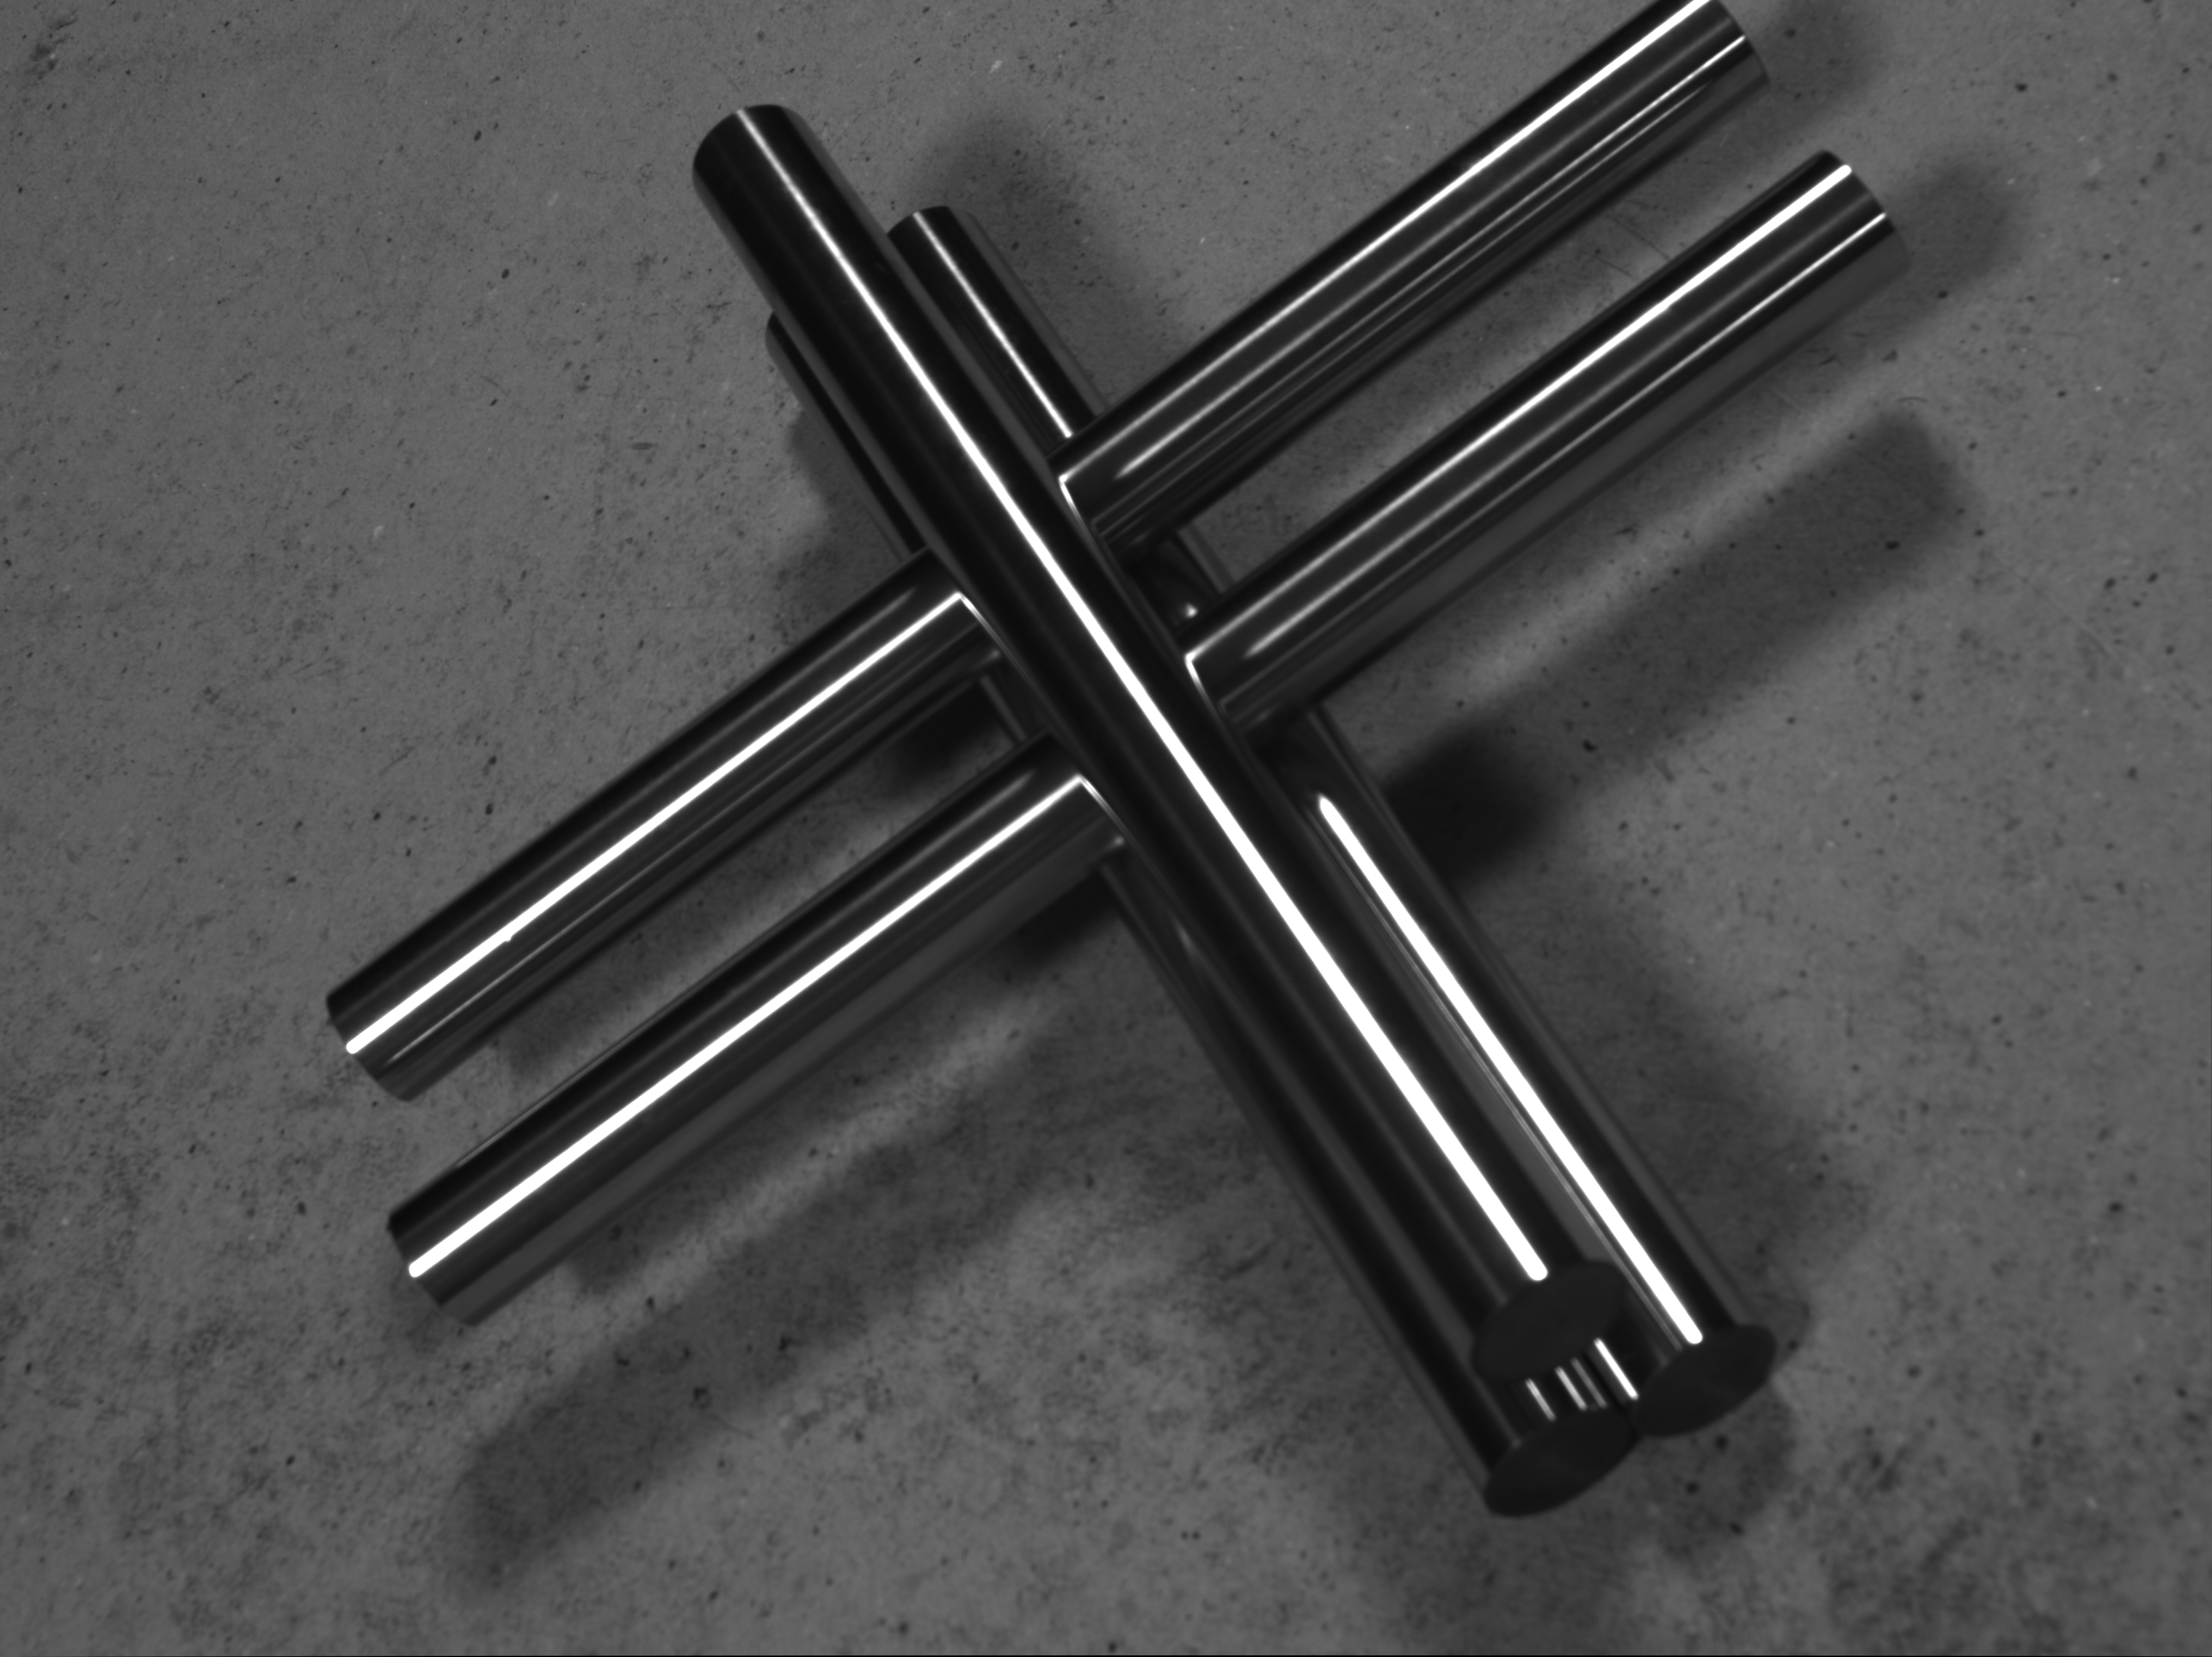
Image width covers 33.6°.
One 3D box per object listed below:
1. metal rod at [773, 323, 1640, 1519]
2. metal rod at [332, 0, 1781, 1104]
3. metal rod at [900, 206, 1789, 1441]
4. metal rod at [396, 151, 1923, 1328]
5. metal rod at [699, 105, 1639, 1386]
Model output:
[{"bbox_3d":[0.007,-0.003,0.642,0.025,0.025,0.299,-36,51,4],"label":"metal rod"},{"bbox_3d":[-0.010,-0.049,0.648,0.300,0.025,0.025,-36,51,4],"label":"metal rod"},{"bbox_3d":[0.029,-0.016,0.639,0.025,0.025,0.299,-36,51,4],"label":"metal rod"},{"bbox_3d":[0.007,-0.013,0.617,0.300,0.025,0.025,-36,51,4],"label":"metal rod"},{"bbox_3d":[-0.001,-0.029,0.598,0.025,0.025,0.299,-37,51,4],"label":"metal rod"}]
